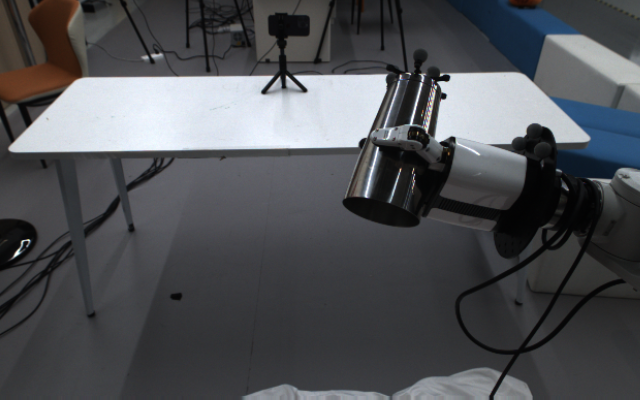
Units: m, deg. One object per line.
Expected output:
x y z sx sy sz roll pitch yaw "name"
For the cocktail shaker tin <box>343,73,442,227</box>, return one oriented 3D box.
0.095 -0.062 0.581 0.093 0.093 0.170 13 74 16 "cocktail shaker tin"
